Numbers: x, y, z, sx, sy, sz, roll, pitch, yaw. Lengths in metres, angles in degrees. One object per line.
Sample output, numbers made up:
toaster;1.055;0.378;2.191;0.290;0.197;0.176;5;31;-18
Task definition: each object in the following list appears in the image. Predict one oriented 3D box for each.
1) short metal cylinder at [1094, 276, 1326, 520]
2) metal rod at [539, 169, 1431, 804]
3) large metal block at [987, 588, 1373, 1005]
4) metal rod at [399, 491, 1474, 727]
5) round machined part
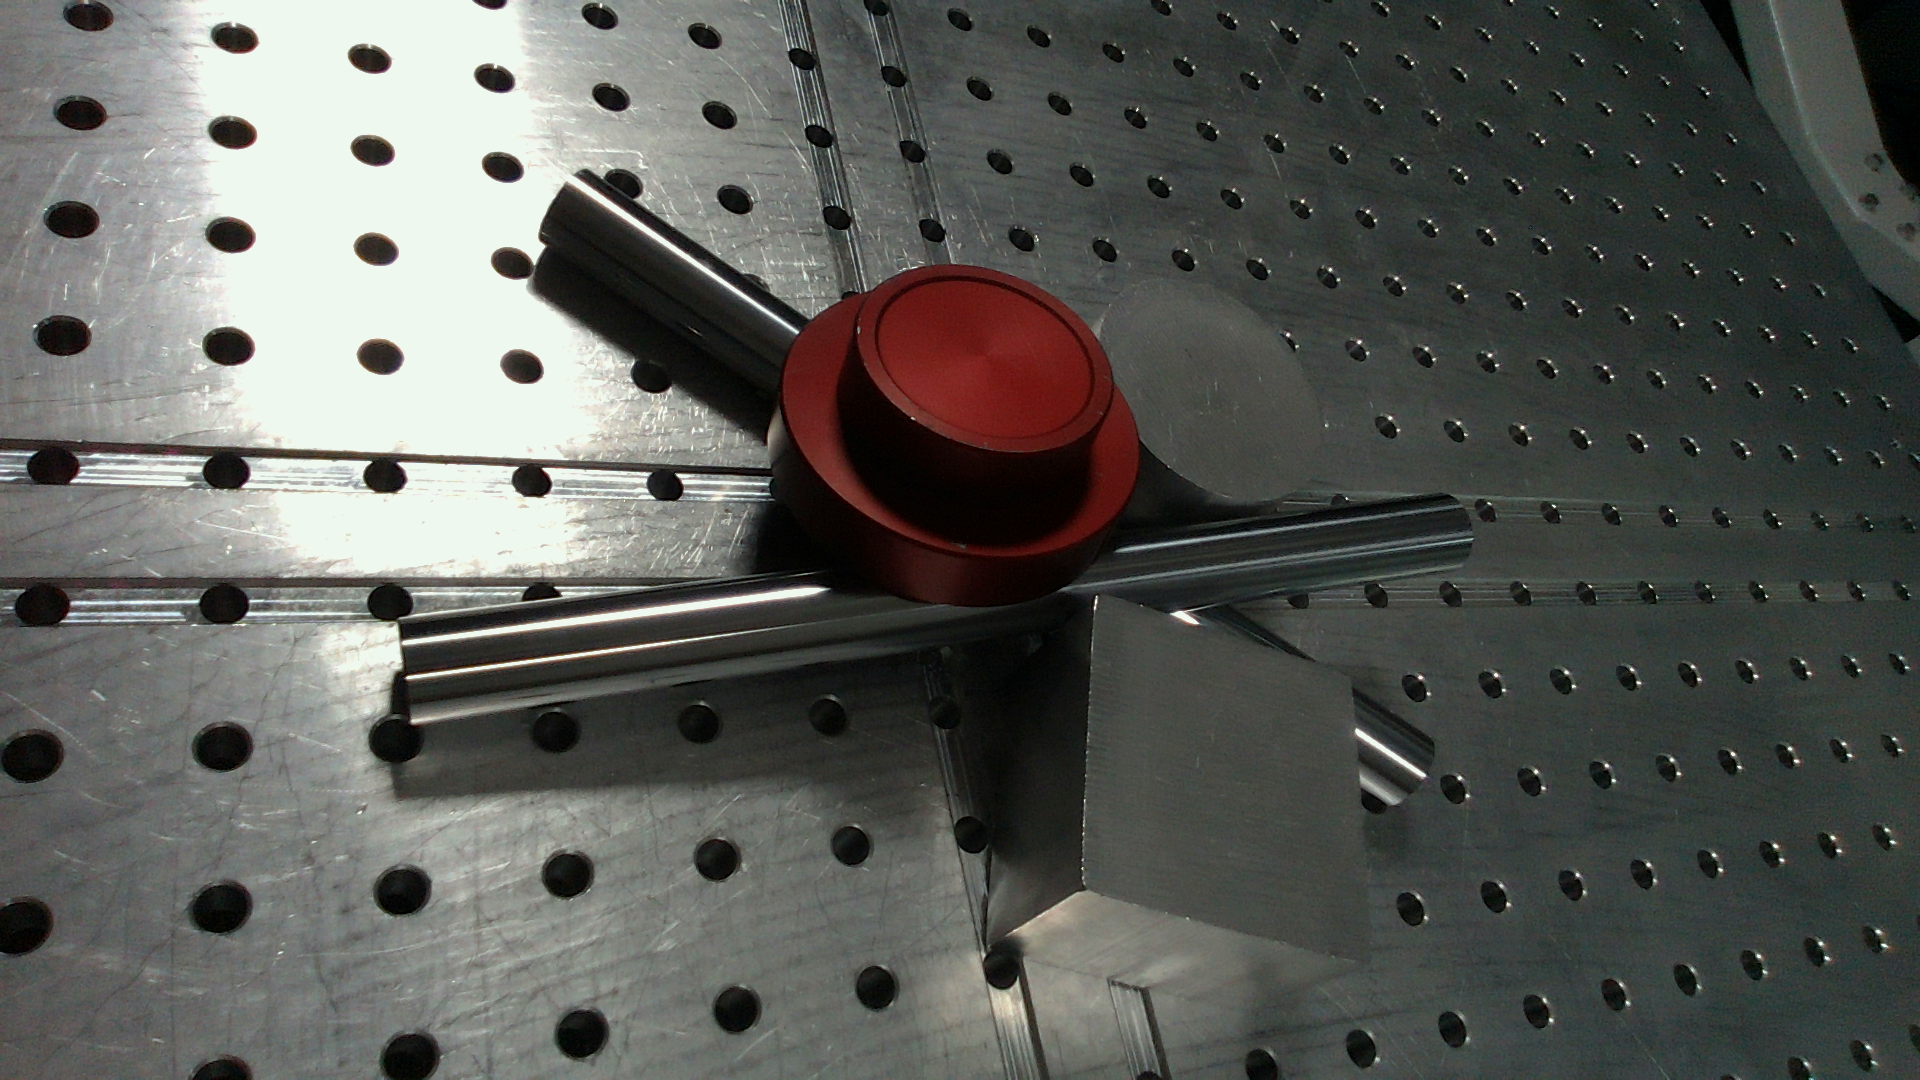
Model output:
short metal cylinder;0.067;-0.035;0.433;0.080;0.050;0.080;14;56;-21
metal rod;0.012;-0.012;0.407;0.300;0.025;0.025;34;51;-6
large metal block;0.057;0.069;0.362;0.080;0.050;0.080;18;54;-17
metal rod;0.013;0.013;0.368;0.301;0.025;0.025;-7;65;-23
round machined part;0.001;-0.033;0.359;0.098;0.042;0.098;11;50;-13
